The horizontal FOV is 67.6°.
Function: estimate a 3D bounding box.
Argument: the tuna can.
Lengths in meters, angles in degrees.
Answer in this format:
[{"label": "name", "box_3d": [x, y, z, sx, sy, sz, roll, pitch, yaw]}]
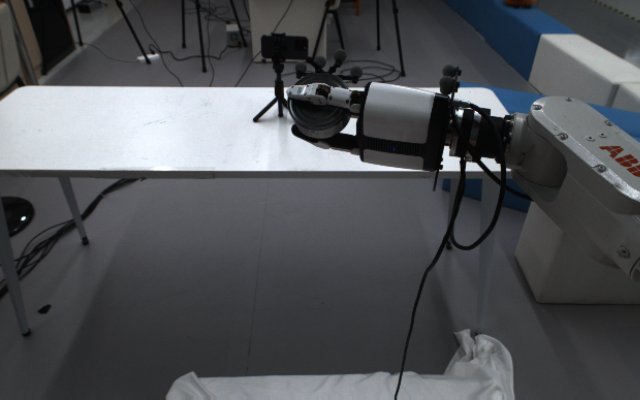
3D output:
[{"label": "tuna can", "box_3d": [0.000, -0.129, 0.659, 0.085, 0.034, 0.085, -3, 69, 7]}]
